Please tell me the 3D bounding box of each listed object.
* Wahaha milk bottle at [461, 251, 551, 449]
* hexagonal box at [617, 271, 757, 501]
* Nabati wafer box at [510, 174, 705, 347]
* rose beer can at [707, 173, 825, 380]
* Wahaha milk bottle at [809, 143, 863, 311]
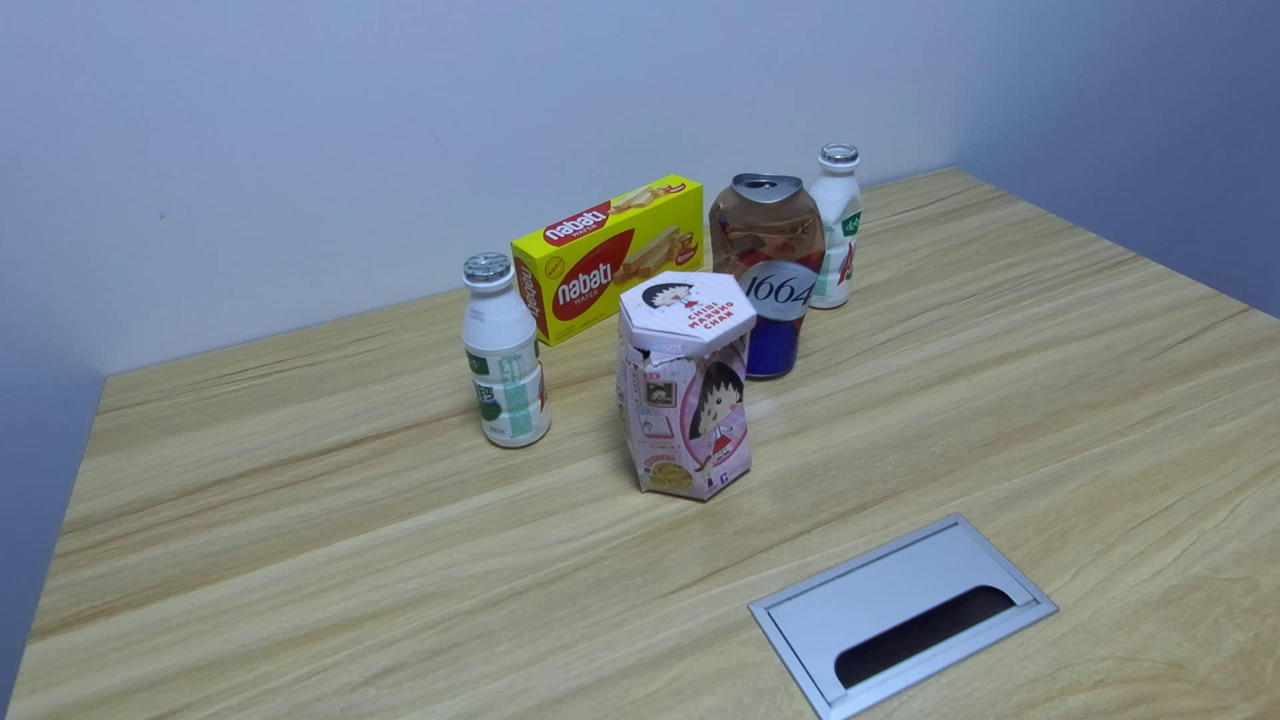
[{"bbox_3d":[-0.098,-0.005,0.510,0.053,0.147,0.053,-2,36,2],"label":"Wahaha milk bottle"},{"bbox_3d":[0.030,0.018,0.477,0.091,0.135,0.090,-4,34,1],"label":"hexagonal box"},{"bbox_3d":[-0.021,-0.098,0.670,0.203,0.093,0.042,-30,43,-31],"label":"Nabati wafer box"},{"bbox_3d":[0.096,-0.063,0.557,0.074,0.162,0.068,-16,39,-17],"label":"rose beer can"},{"bbox_3d":[0.171,-0.117,0.634,0.056,0.148,0.056,-1,34,1],"label":"Wahaha milk bottle"}]
